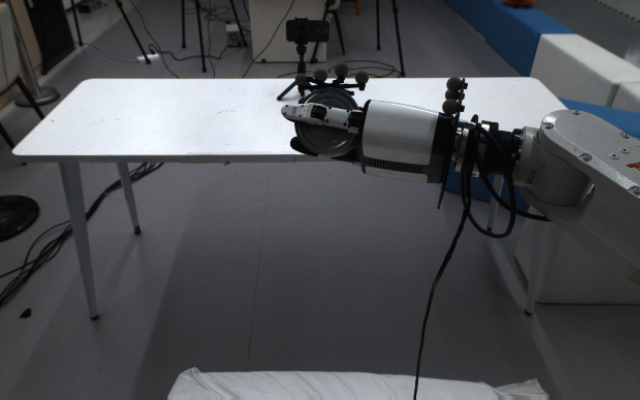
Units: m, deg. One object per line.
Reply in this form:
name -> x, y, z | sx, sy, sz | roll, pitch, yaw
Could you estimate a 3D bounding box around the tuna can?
tuna can -> 0.013, -0.099, 0.624 | 0.085, 0.085, 0.034 | 12, -1, 14
